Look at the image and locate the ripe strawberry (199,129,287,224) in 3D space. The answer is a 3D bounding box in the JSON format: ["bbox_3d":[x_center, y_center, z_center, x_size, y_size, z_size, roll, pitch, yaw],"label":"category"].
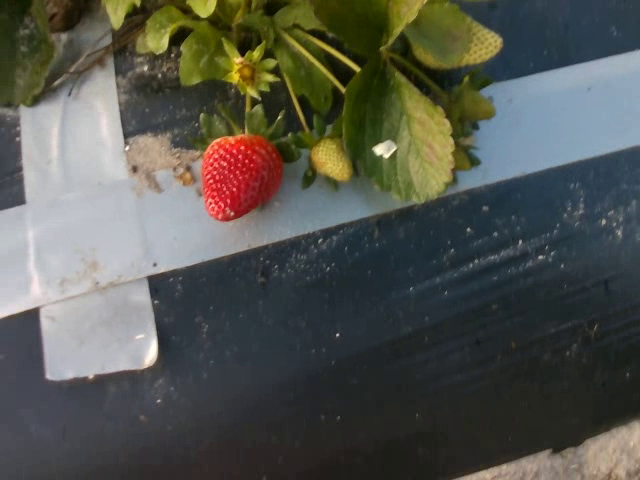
[{"bbox_3d":[-0.018,-0.013,0.161,0.023,0.026,0.021,-8,-42,20],"label":"ripe strawberry"}]
